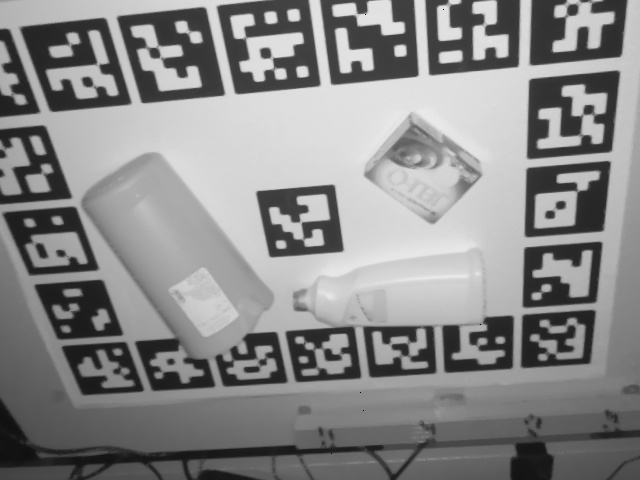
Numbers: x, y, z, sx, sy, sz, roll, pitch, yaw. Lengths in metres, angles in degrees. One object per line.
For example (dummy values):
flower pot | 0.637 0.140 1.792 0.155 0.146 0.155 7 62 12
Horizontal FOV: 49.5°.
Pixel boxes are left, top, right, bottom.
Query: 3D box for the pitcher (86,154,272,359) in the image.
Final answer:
pitcher | -0.184 0.019 0.874 0.186 0.135 0.242 -9 119 49

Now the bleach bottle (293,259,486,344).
bleach bottle | 0.088 0.087 0.914 0.250 0.068 0.102 -6 114 9

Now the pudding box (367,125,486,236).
pudding box | 0.128 -0.070 0.832 0.114 0.039 0.088 37 121 -14
